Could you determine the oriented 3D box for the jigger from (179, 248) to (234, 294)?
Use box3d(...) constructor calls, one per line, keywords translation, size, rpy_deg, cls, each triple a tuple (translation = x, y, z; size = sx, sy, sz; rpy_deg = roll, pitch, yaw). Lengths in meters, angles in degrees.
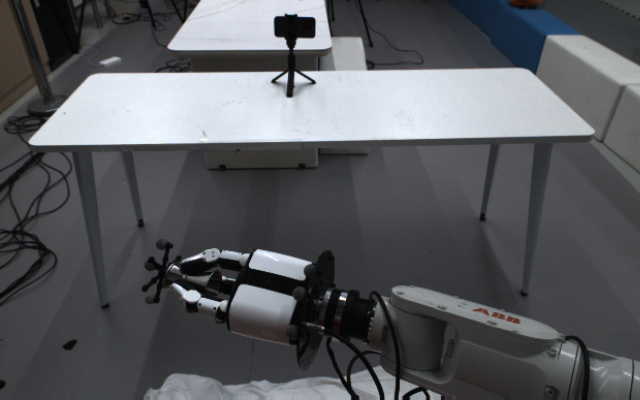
box3d(translation=(-0.174, 0.112, 0.690), size=(0.071, 0.043, 0.043), rpy_deg=(11, 36, 15), cls="jigger")
